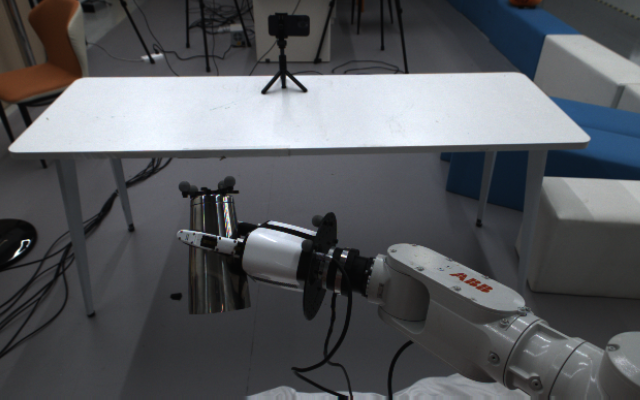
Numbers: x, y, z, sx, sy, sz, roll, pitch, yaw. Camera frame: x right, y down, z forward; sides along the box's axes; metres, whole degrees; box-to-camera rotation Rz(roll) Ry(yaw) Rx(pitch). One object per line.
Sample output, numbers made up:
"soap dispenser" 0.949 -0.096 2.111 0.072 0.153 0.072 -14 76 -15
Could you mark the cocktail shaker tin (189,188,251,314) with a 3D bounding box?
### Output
"cocktail shaker tin" -0.158 0.081 0.733 0.093 0.170 0.093 -6 -7 -1
